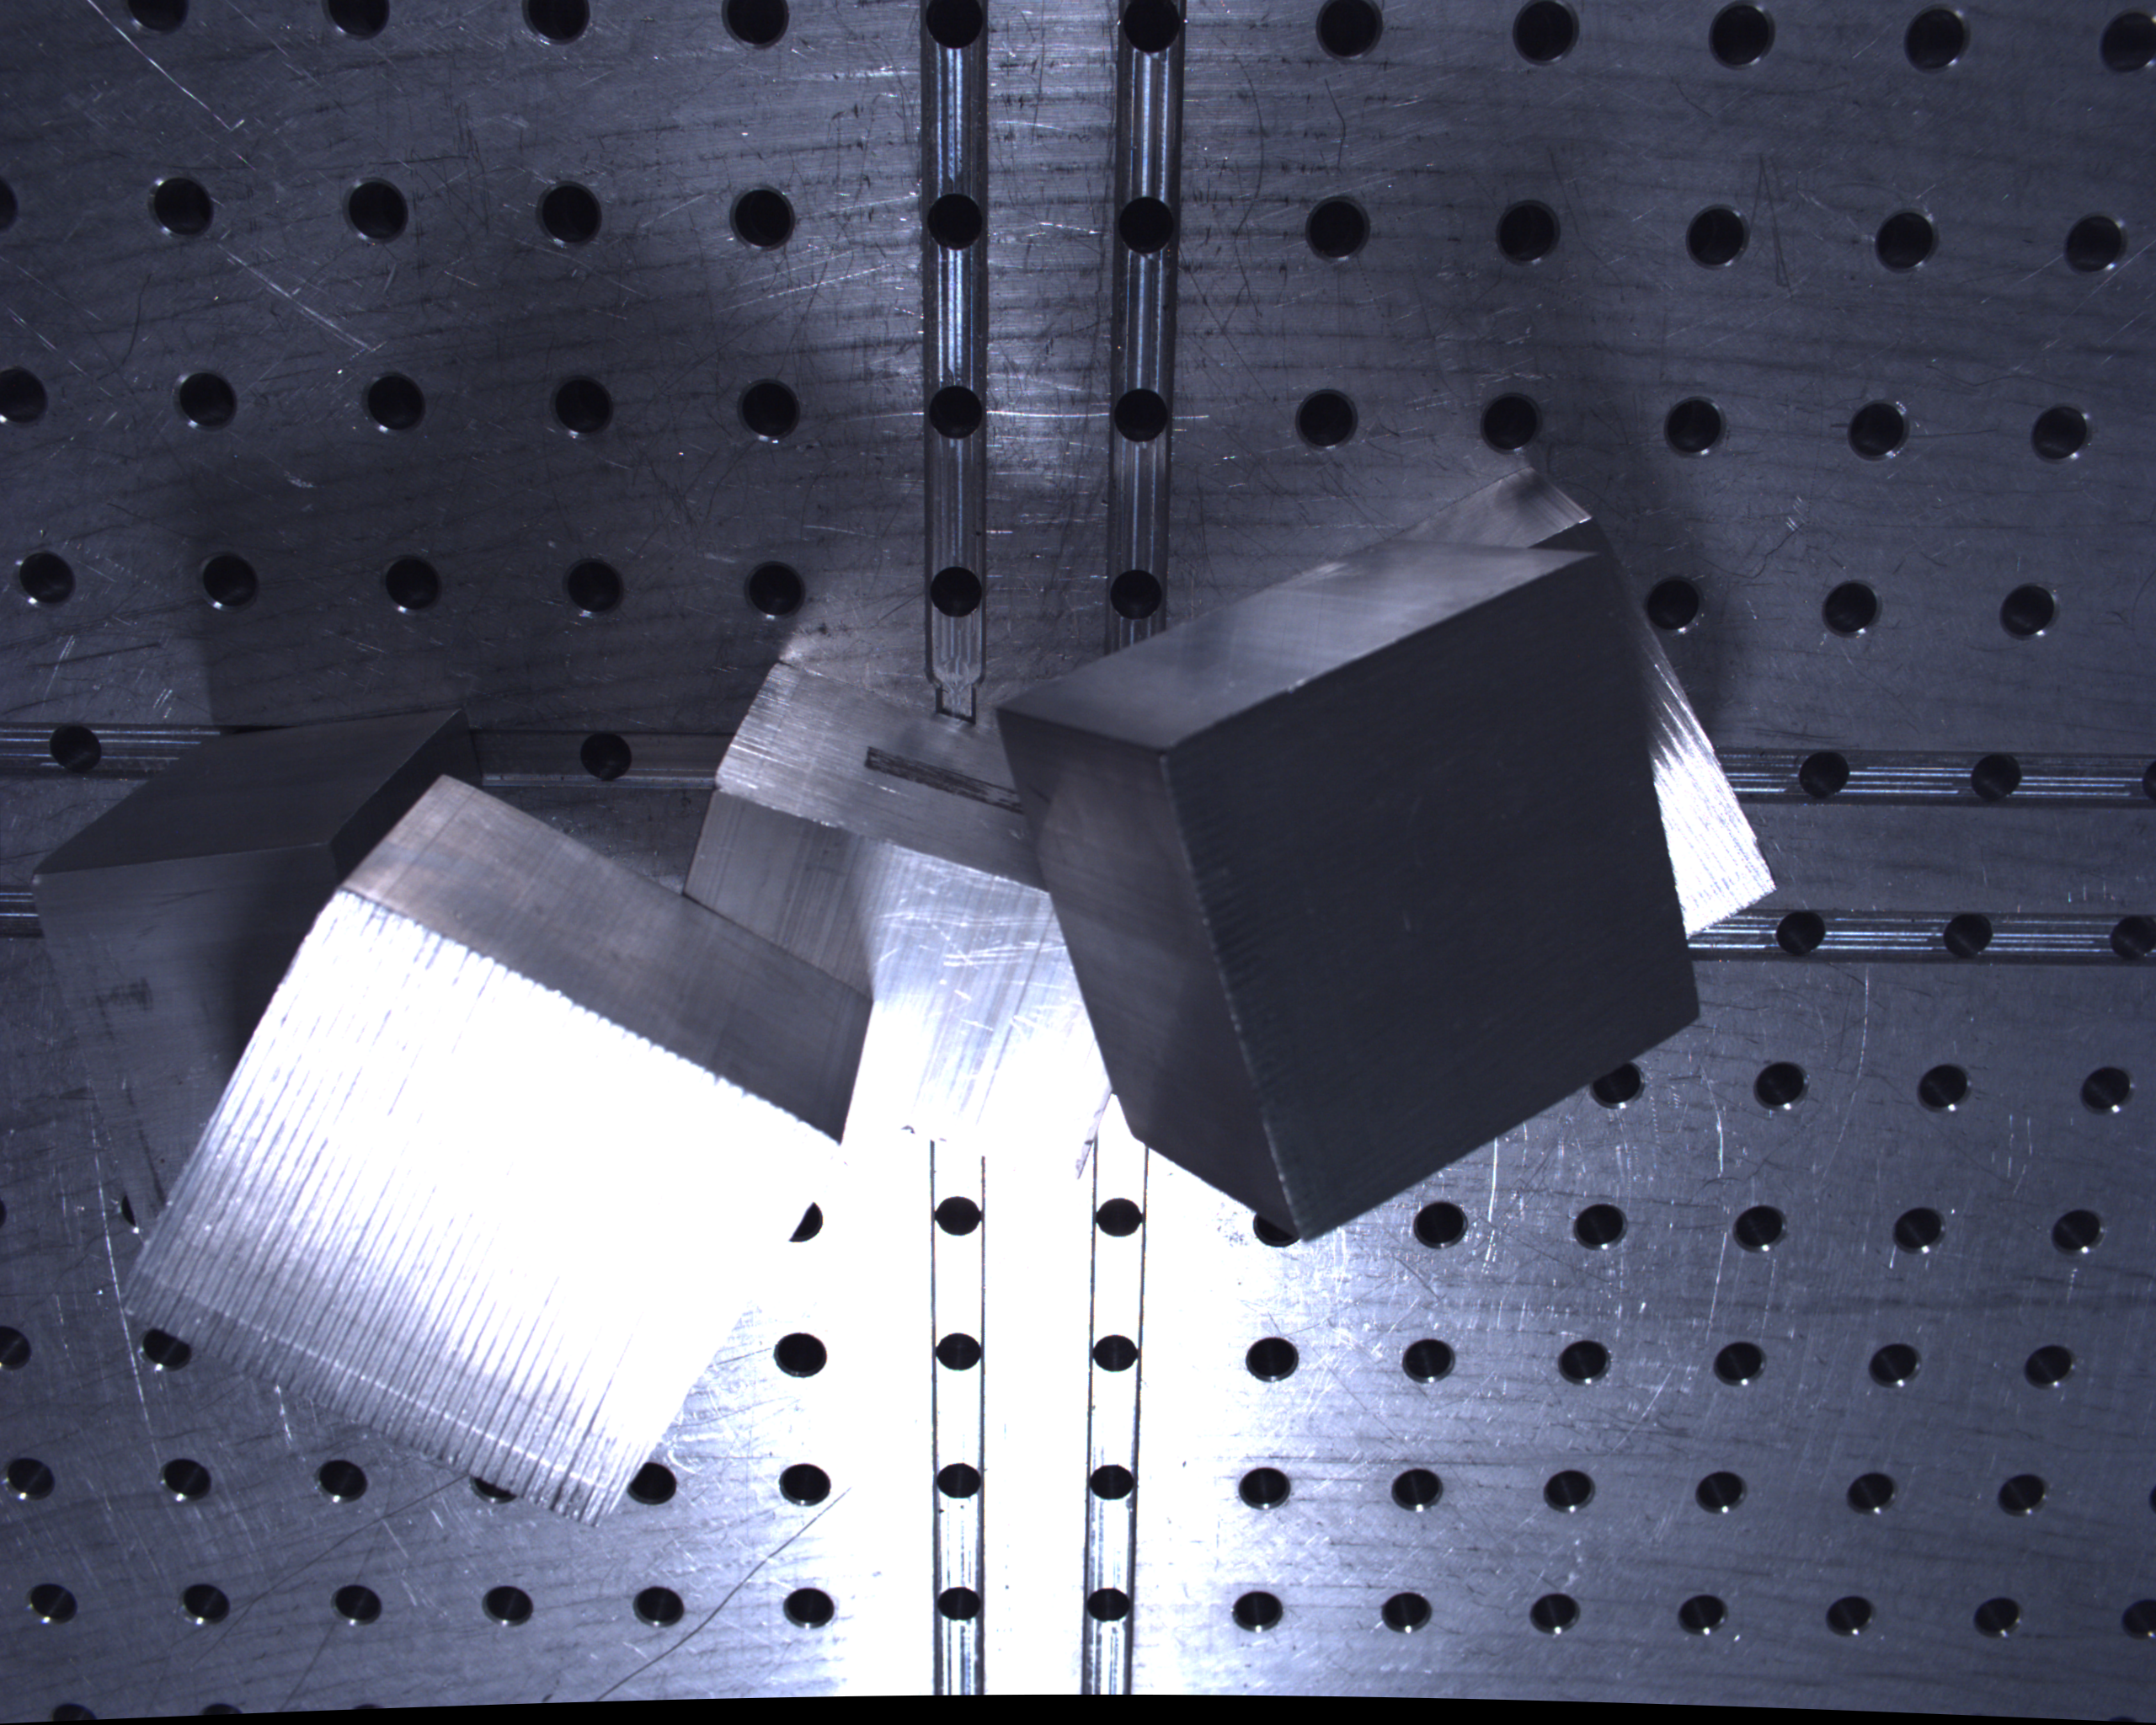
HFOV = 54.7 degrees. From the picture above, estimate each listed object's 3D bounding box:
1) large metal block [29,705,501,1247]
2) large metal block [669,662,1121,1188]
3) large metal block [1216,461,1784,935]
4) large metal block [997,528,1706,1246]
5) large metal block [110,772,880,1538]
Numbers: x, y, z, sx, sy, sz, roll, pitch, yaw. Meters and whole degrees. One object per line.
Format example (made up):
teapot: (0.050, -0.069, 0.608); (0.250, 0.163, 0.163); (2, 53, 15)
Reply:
large metal block: (-0.142, 0.022, 0.390); (0.050, 0.080, 0.079); (-6, 110, 2)
large metal block: (-0.029, 0.009, 0.386); (0.080, 0.080, 0.050); (18, 109, -7)
large metal block: (0.072, -0.017, 0.395); (0.080, 0.050, 0.080); (-29, 108, 9)
large metal block: (0.044, 0.000, 0.328); (0.081, 0.050, 0.080); (-25, 111, -22)
large metal block: (-0.088, 0.045, 0.329); (0.080, 0.050, 0.080); (30, 107, -10)
